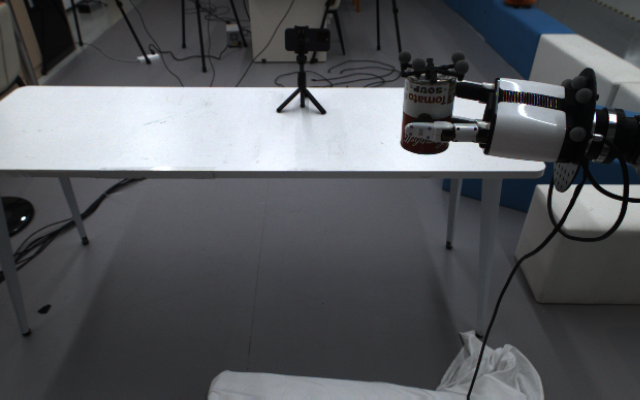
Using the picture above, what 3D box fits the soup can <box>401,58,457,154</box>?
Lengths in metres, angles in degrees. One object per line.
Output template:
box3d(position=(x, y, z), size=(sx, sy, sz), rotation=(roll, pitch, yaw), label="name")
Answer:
box3d(position=(0.147, -0.124, 0.659), size=(0.067, 0.101, 0.067), rotation=(-2, 34, 1), label="soup can")
